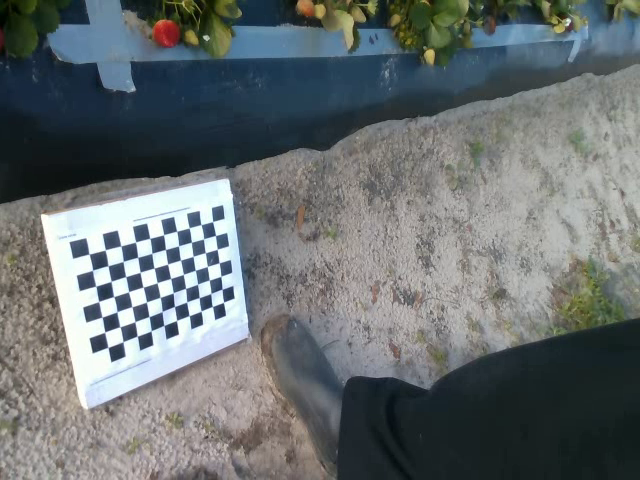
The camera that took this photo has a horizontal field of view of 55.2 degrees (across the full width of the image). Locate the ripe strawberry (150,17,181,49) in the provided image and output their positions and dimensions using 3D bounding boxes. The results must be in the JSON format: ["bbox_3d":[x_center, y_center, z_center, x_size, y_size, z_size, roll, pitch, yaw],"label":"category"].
[{"bbox_3d":[-0.103,-0.140,0.417,0.023,0.026,0.021,-3,-33,-21],"label":"ripe strawberry"}]
